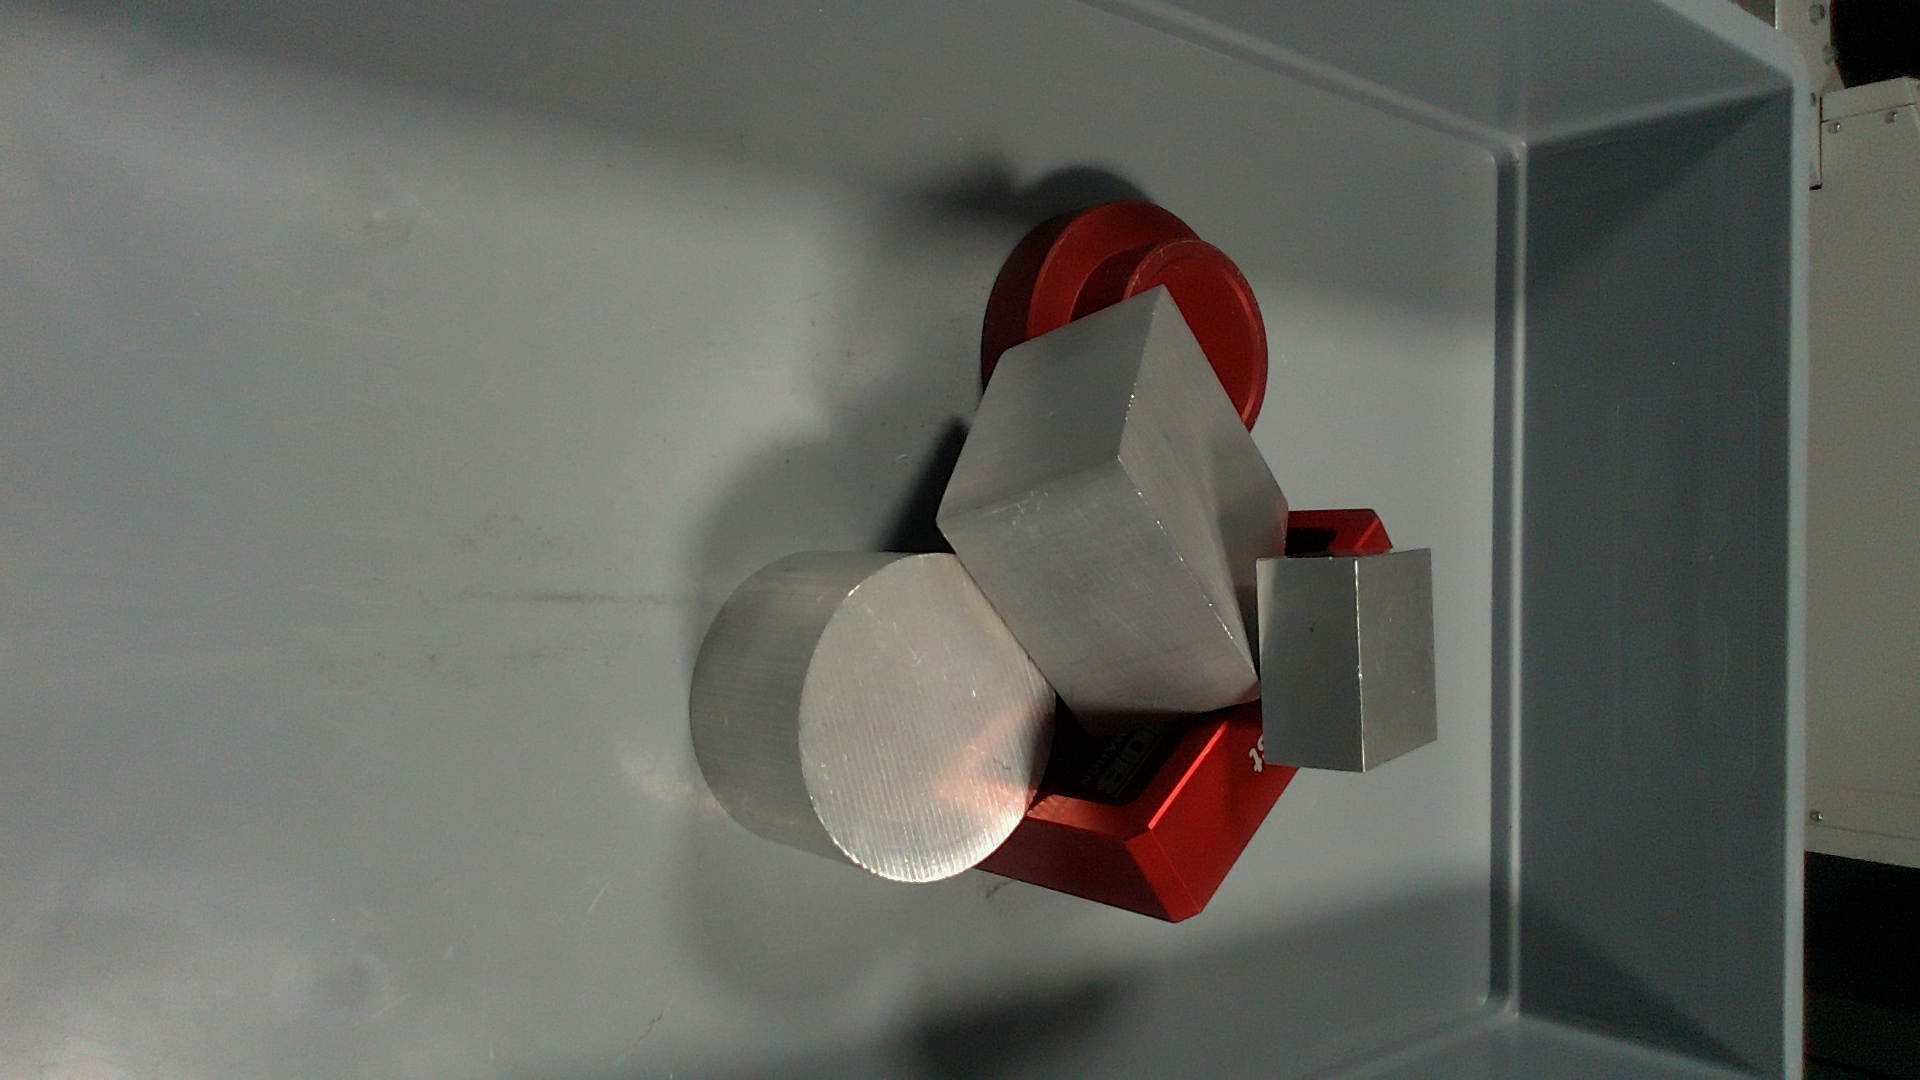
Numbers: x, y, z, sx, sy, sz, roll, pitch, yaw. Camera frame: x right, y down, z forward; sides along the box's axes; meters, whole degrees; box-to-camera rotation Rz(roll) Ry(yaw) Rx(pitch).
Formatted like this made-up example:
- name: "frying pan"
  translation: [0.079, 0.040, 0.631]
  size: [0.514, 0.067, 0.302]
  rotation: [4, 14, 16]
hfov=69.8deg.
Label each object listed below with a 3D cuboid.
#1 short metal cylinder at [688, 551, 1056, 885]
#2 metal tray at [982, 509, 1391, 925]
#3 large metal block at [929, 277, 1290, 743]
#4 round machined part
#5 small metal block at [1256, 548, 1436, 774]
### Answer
- name: "short metal cylinder"
  translation: [-0.022, 0.043, 0.353]
  size: [0.080, 0.050, 0.080]
  rotation: [0, 90, -40]
- name: "metal tray"
  translation: [0.060, 0.043, 0.394]
  size: [0.130, 0.090, 0.030]
  rotation: [-46, 116, -30]
- name: "large metal block"
  translation: [0.044, -0.008, 0.361]
  size: [0.080, 0.050, 0.080]
  rotation: [54, 34, -26]
- name: "round machined part"
  translation: [0.057, -0.056, 0.423]
  size: [0.098, 0.042, 0.098]
  rotation: [0, 90, -40]
- name: "small metal block"
  translation: [0.098, 0.028, 0.345]
  size: [0.050, 0.025, 0.050]
  rotation: [-4, 92, -53]
